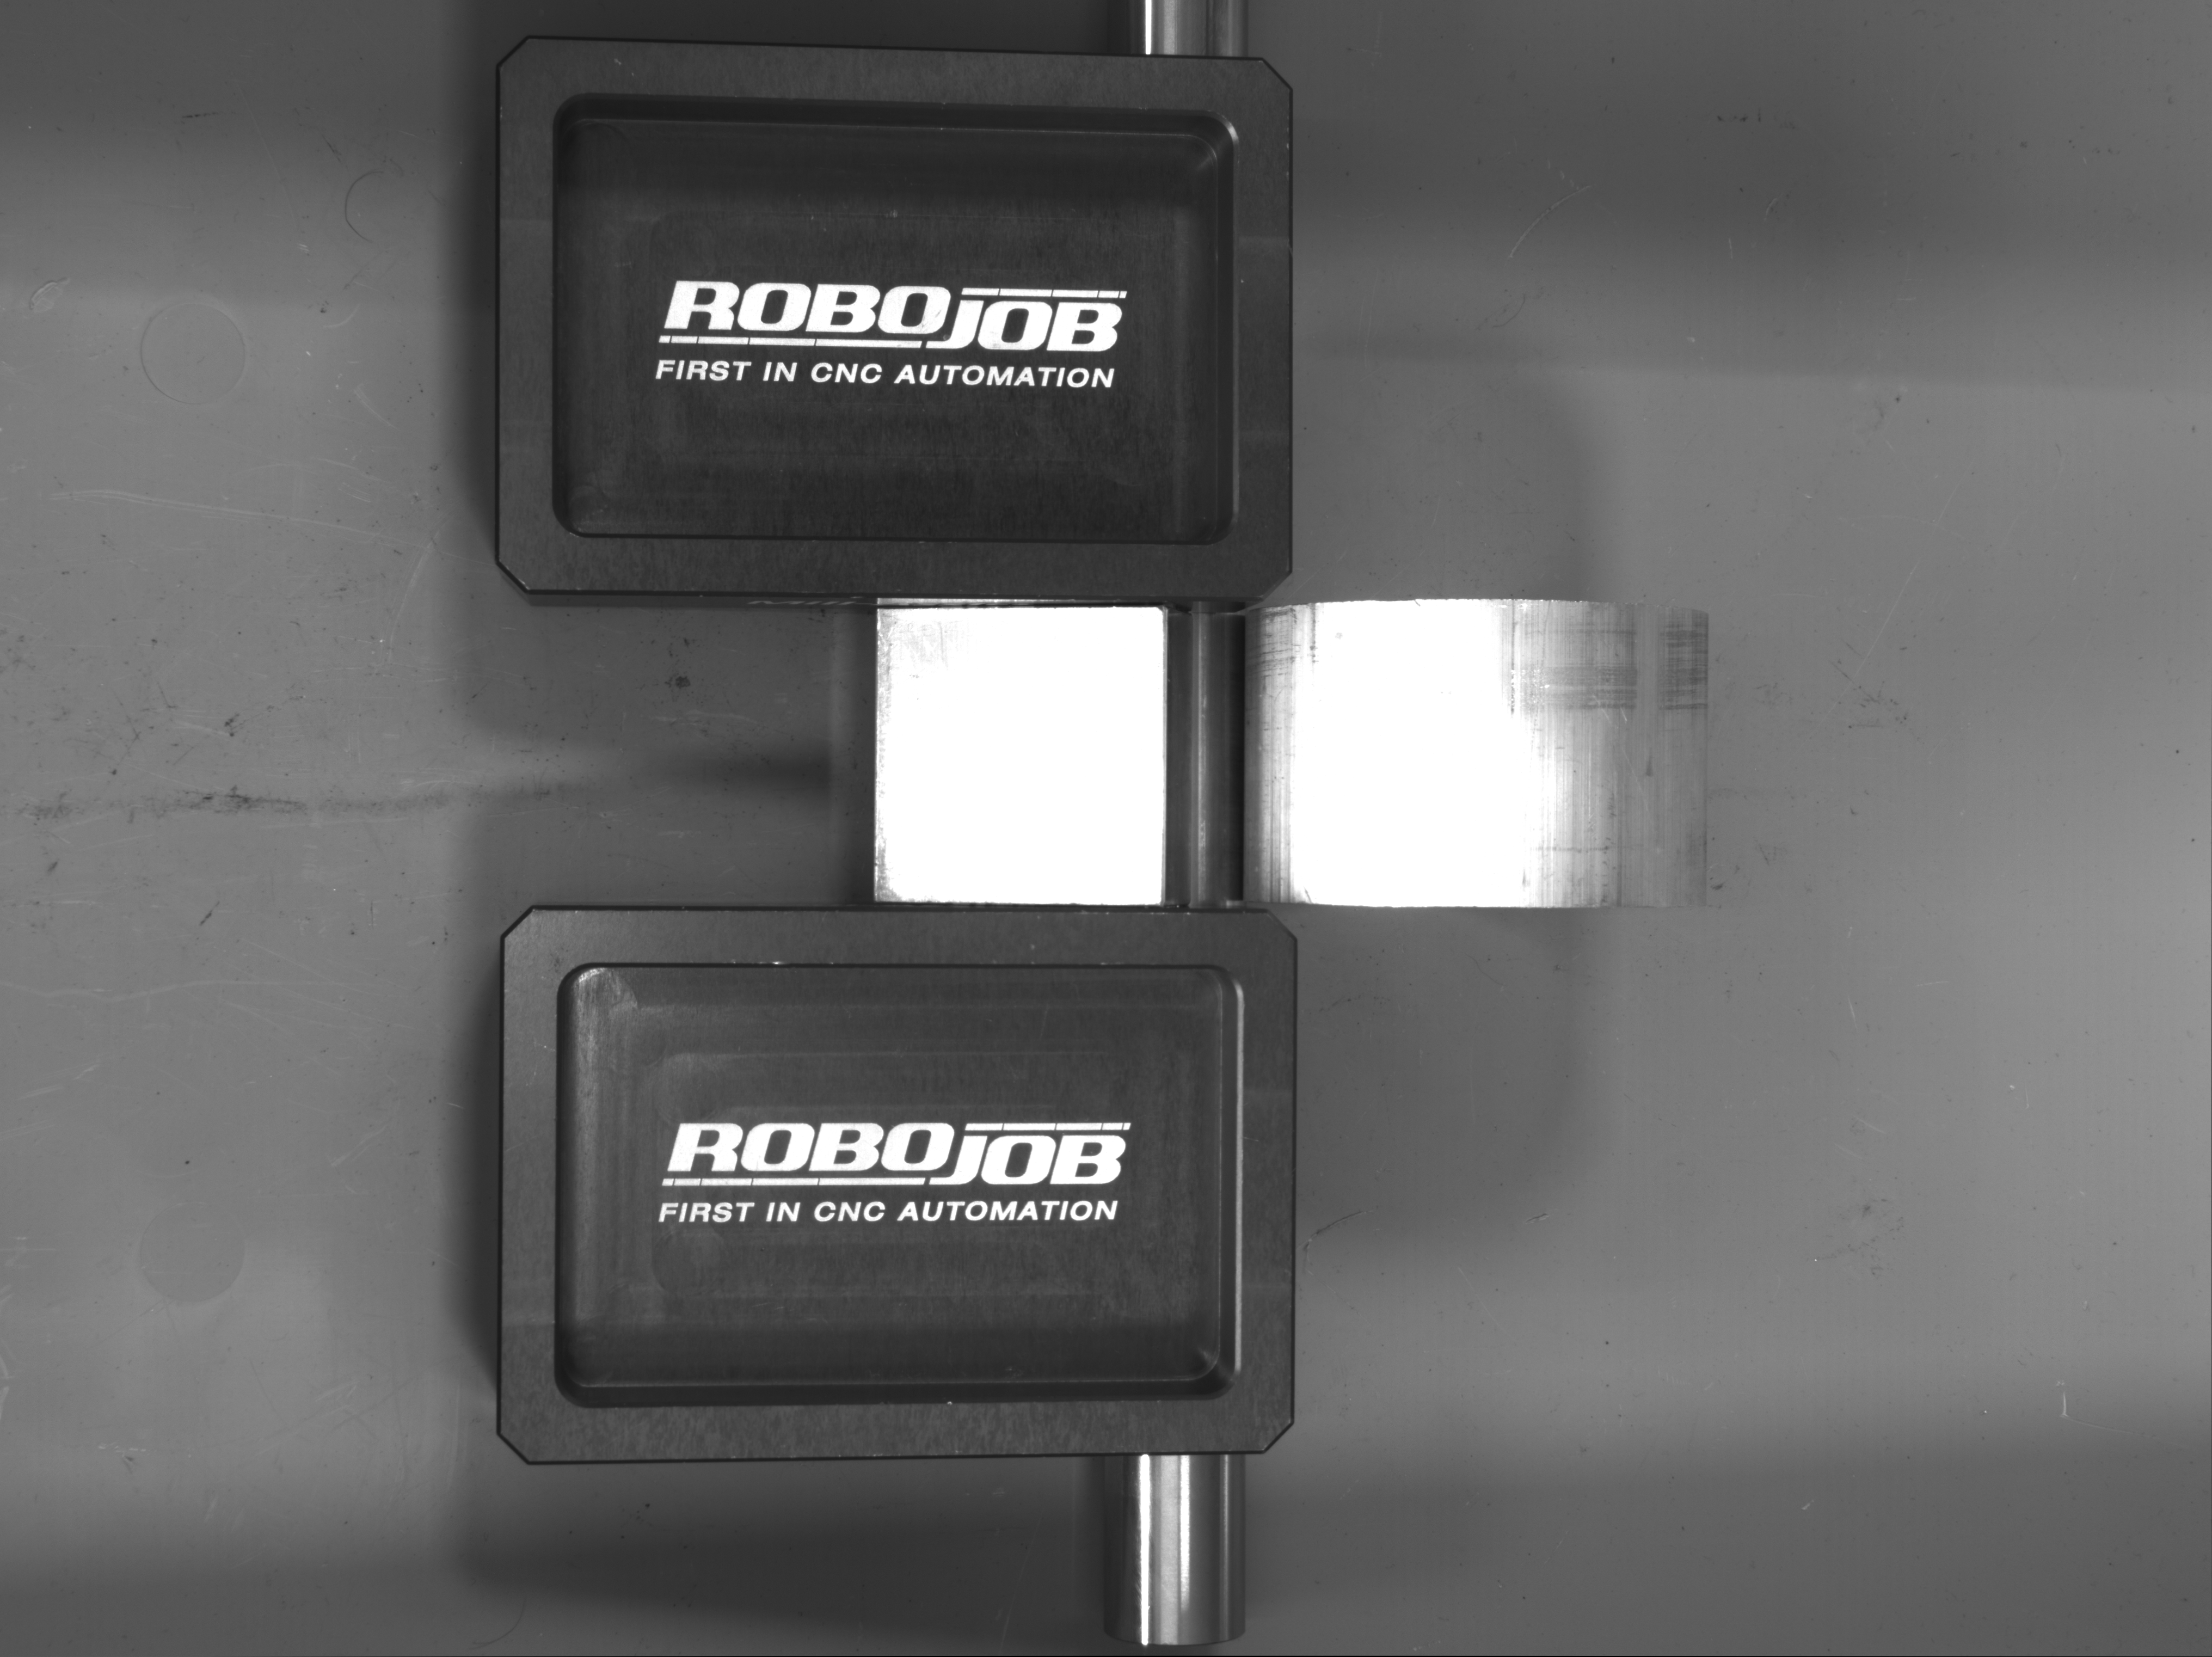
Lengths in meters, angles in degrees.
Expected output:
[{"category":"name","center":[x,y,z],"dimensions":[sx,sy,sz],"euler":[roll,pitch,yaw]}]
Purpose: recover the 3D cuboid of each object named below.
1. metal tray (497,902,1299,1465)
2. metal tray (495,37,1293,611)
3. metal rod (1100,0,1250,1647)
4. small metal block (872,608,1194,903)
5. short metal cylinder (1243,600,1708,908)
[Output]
[{"category":"metal tray","center":[-0.035,0.058,0.612],"dimensions":[0.130,0.030,0.090],"euler":[1,90,-7]},{"category":"metal tray","center":[-0.035,-0.082,0.612],"dimensions":[0.130,0.030,0.090],"euler":[0,90,-7]},{"category":"metal rod","center":[0.012,-0.009,0.646],"dimensions":[0.025,0.025,0.300],"euler":[0,90,-20]},{"category":"small metal block","center":[-0.012,-0.012,0.627],"dimensions":[0.050,0.025,0.050],"euler":[1,90,12]},{"category":"short metal cylinder","center":[0.064,-0.012,0.636],"dimensions":[0.080,0.080,0.050],"euler":[0,90,-20]}]
